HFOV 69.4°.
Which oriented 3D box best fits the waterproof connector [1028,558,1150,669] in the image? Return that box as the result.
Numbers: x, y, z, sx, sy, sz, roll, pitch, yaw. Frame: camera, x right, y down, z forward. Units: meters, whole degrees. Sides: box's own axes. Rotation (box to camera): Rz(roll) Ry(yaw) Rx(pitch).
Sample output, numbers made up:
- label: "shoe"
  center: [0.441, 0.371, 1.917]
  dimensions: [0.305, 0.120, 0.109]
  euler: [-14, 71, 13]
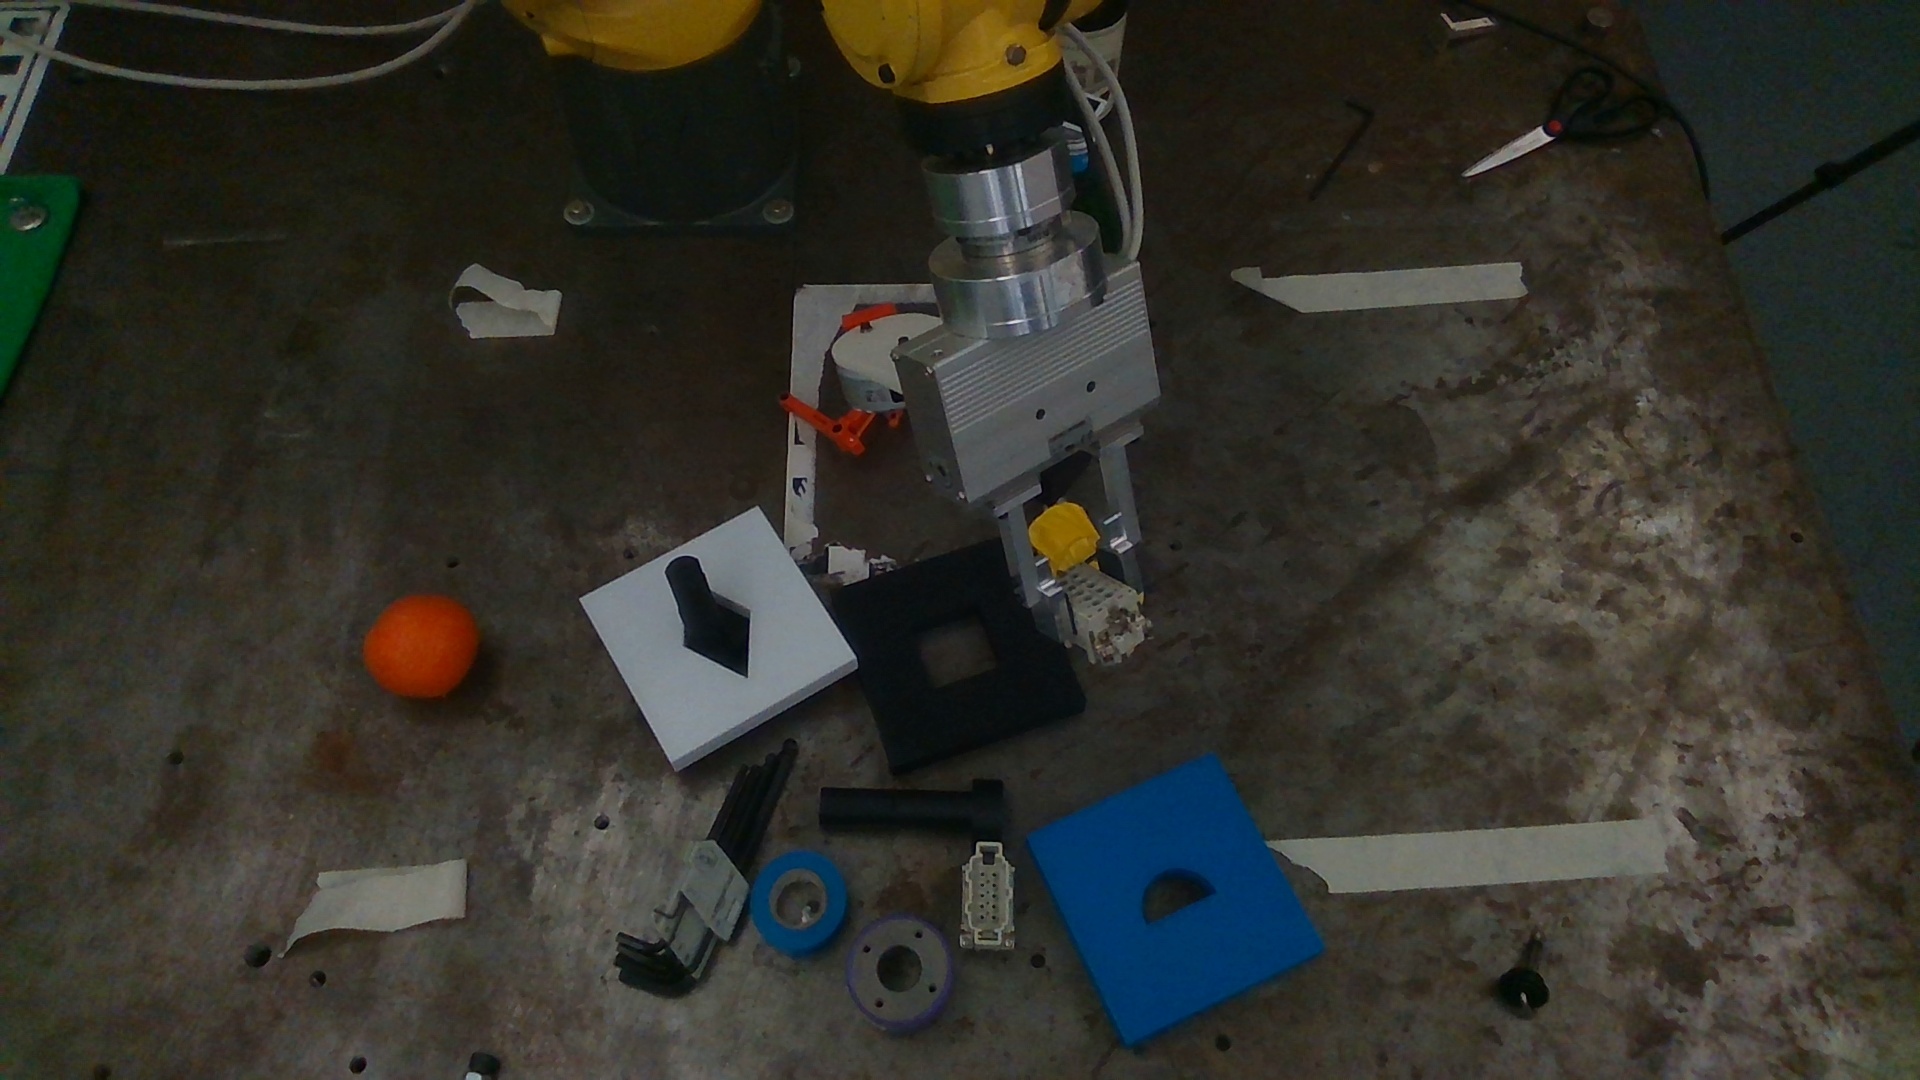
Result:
- label: "waterproof connector"
  center: [0.068, 0.040, 0.731]
  dimensions: [0.036, 0.038, 0.069]
  euler: [-31, 35, -20]
